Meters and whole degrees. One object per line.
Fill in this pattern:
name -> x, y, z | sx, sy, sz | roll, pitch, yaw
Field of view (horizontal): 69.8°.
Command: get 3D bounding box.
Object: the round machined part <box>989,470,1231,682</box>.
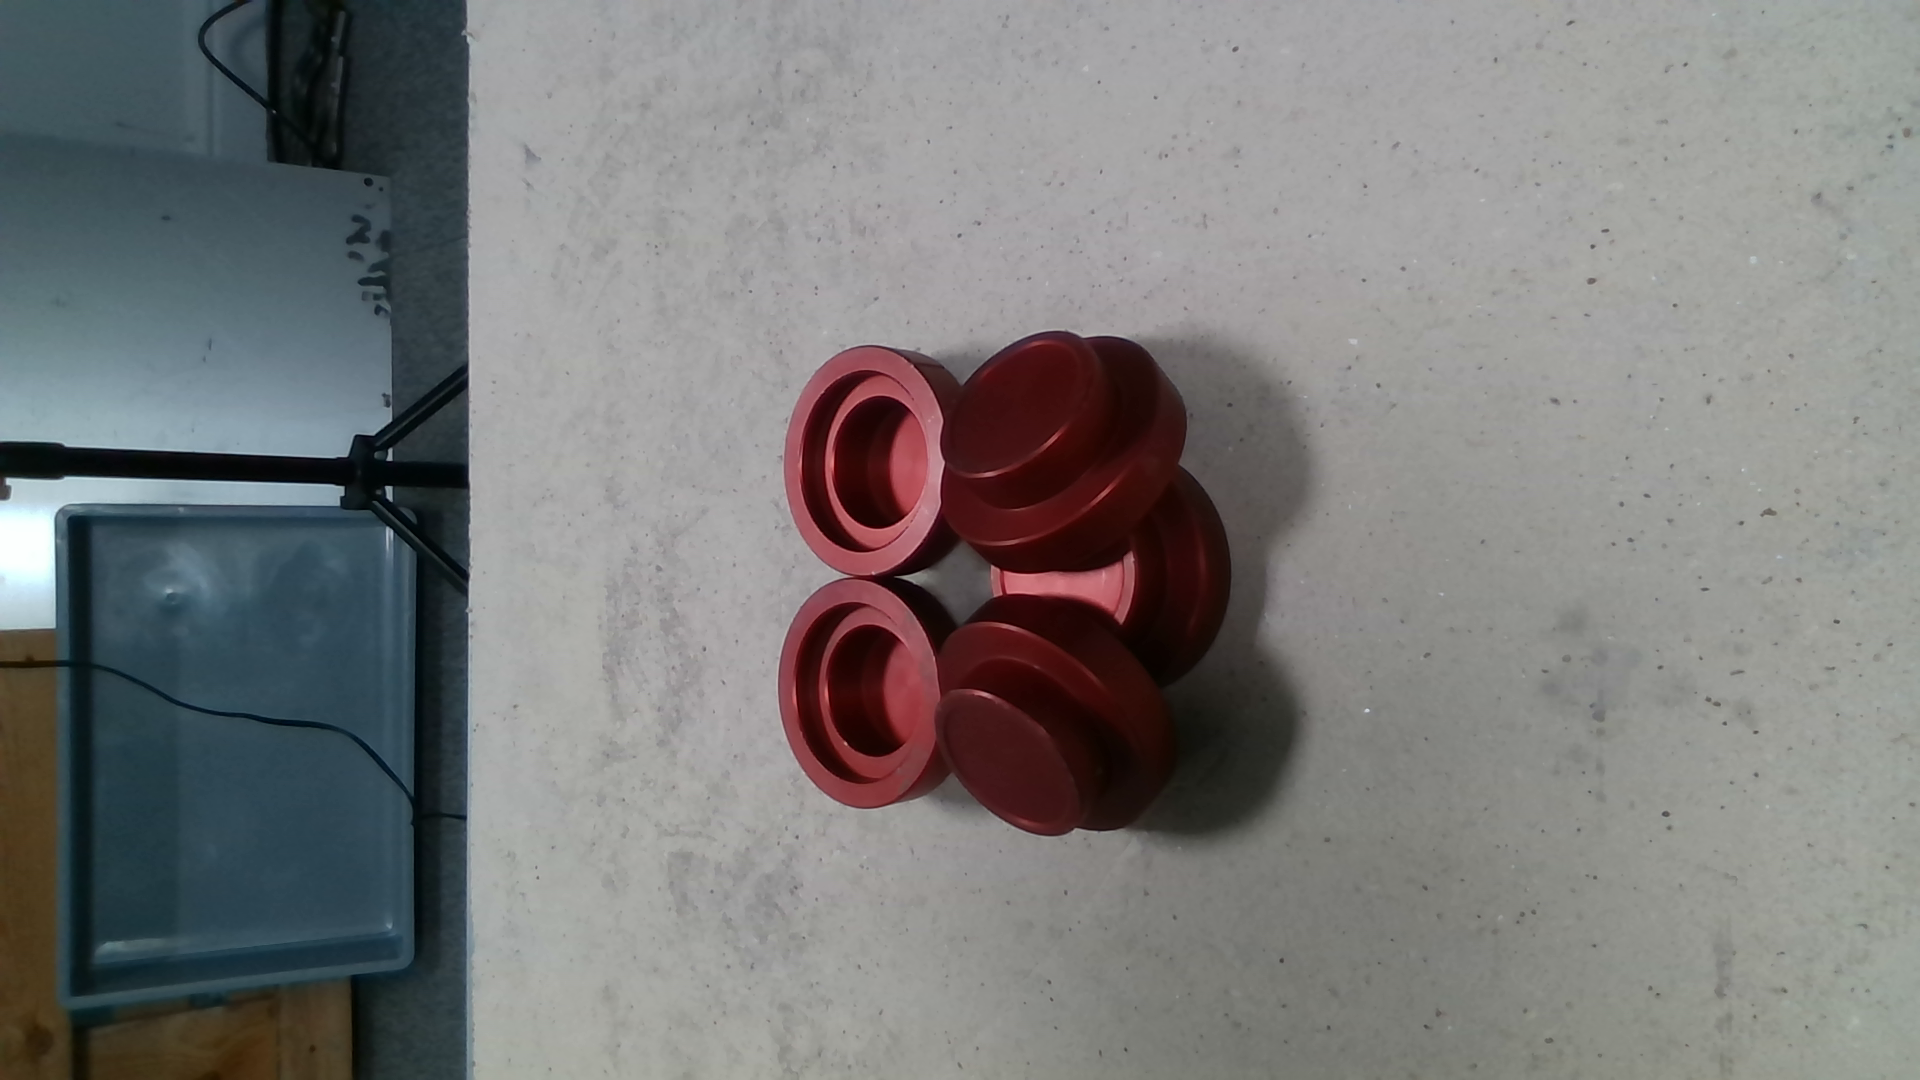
round machined part -> 0.050, 0.012, 0.528 | 0.098, 0.042, 0.098 | 0, 91, 40

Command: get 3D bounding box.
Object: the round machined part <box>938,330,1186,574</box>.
round machined part -> 0.031, -0.039, 0.513 | 0.098, 0.042, 0.098 | -26, 42, 26

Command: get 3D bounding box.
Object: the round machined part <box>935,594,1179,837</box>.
round machined part -> 0.030, 0.072, 0.518 | 0.098, 0.042, 0.098 | 27, 138, 28

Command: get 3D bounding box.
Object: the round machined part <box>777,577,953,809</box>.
round machined part -> -0.031, 0.065, 0.598 | 0.098, 0.042, 0.098 | 0, 91, 40

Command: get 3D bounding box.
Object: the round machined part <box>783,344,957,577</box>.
round machined part -> -0.028, -0.033, 0.594 | 0.098, 0.042, 0.098 | 0, 91, 40
